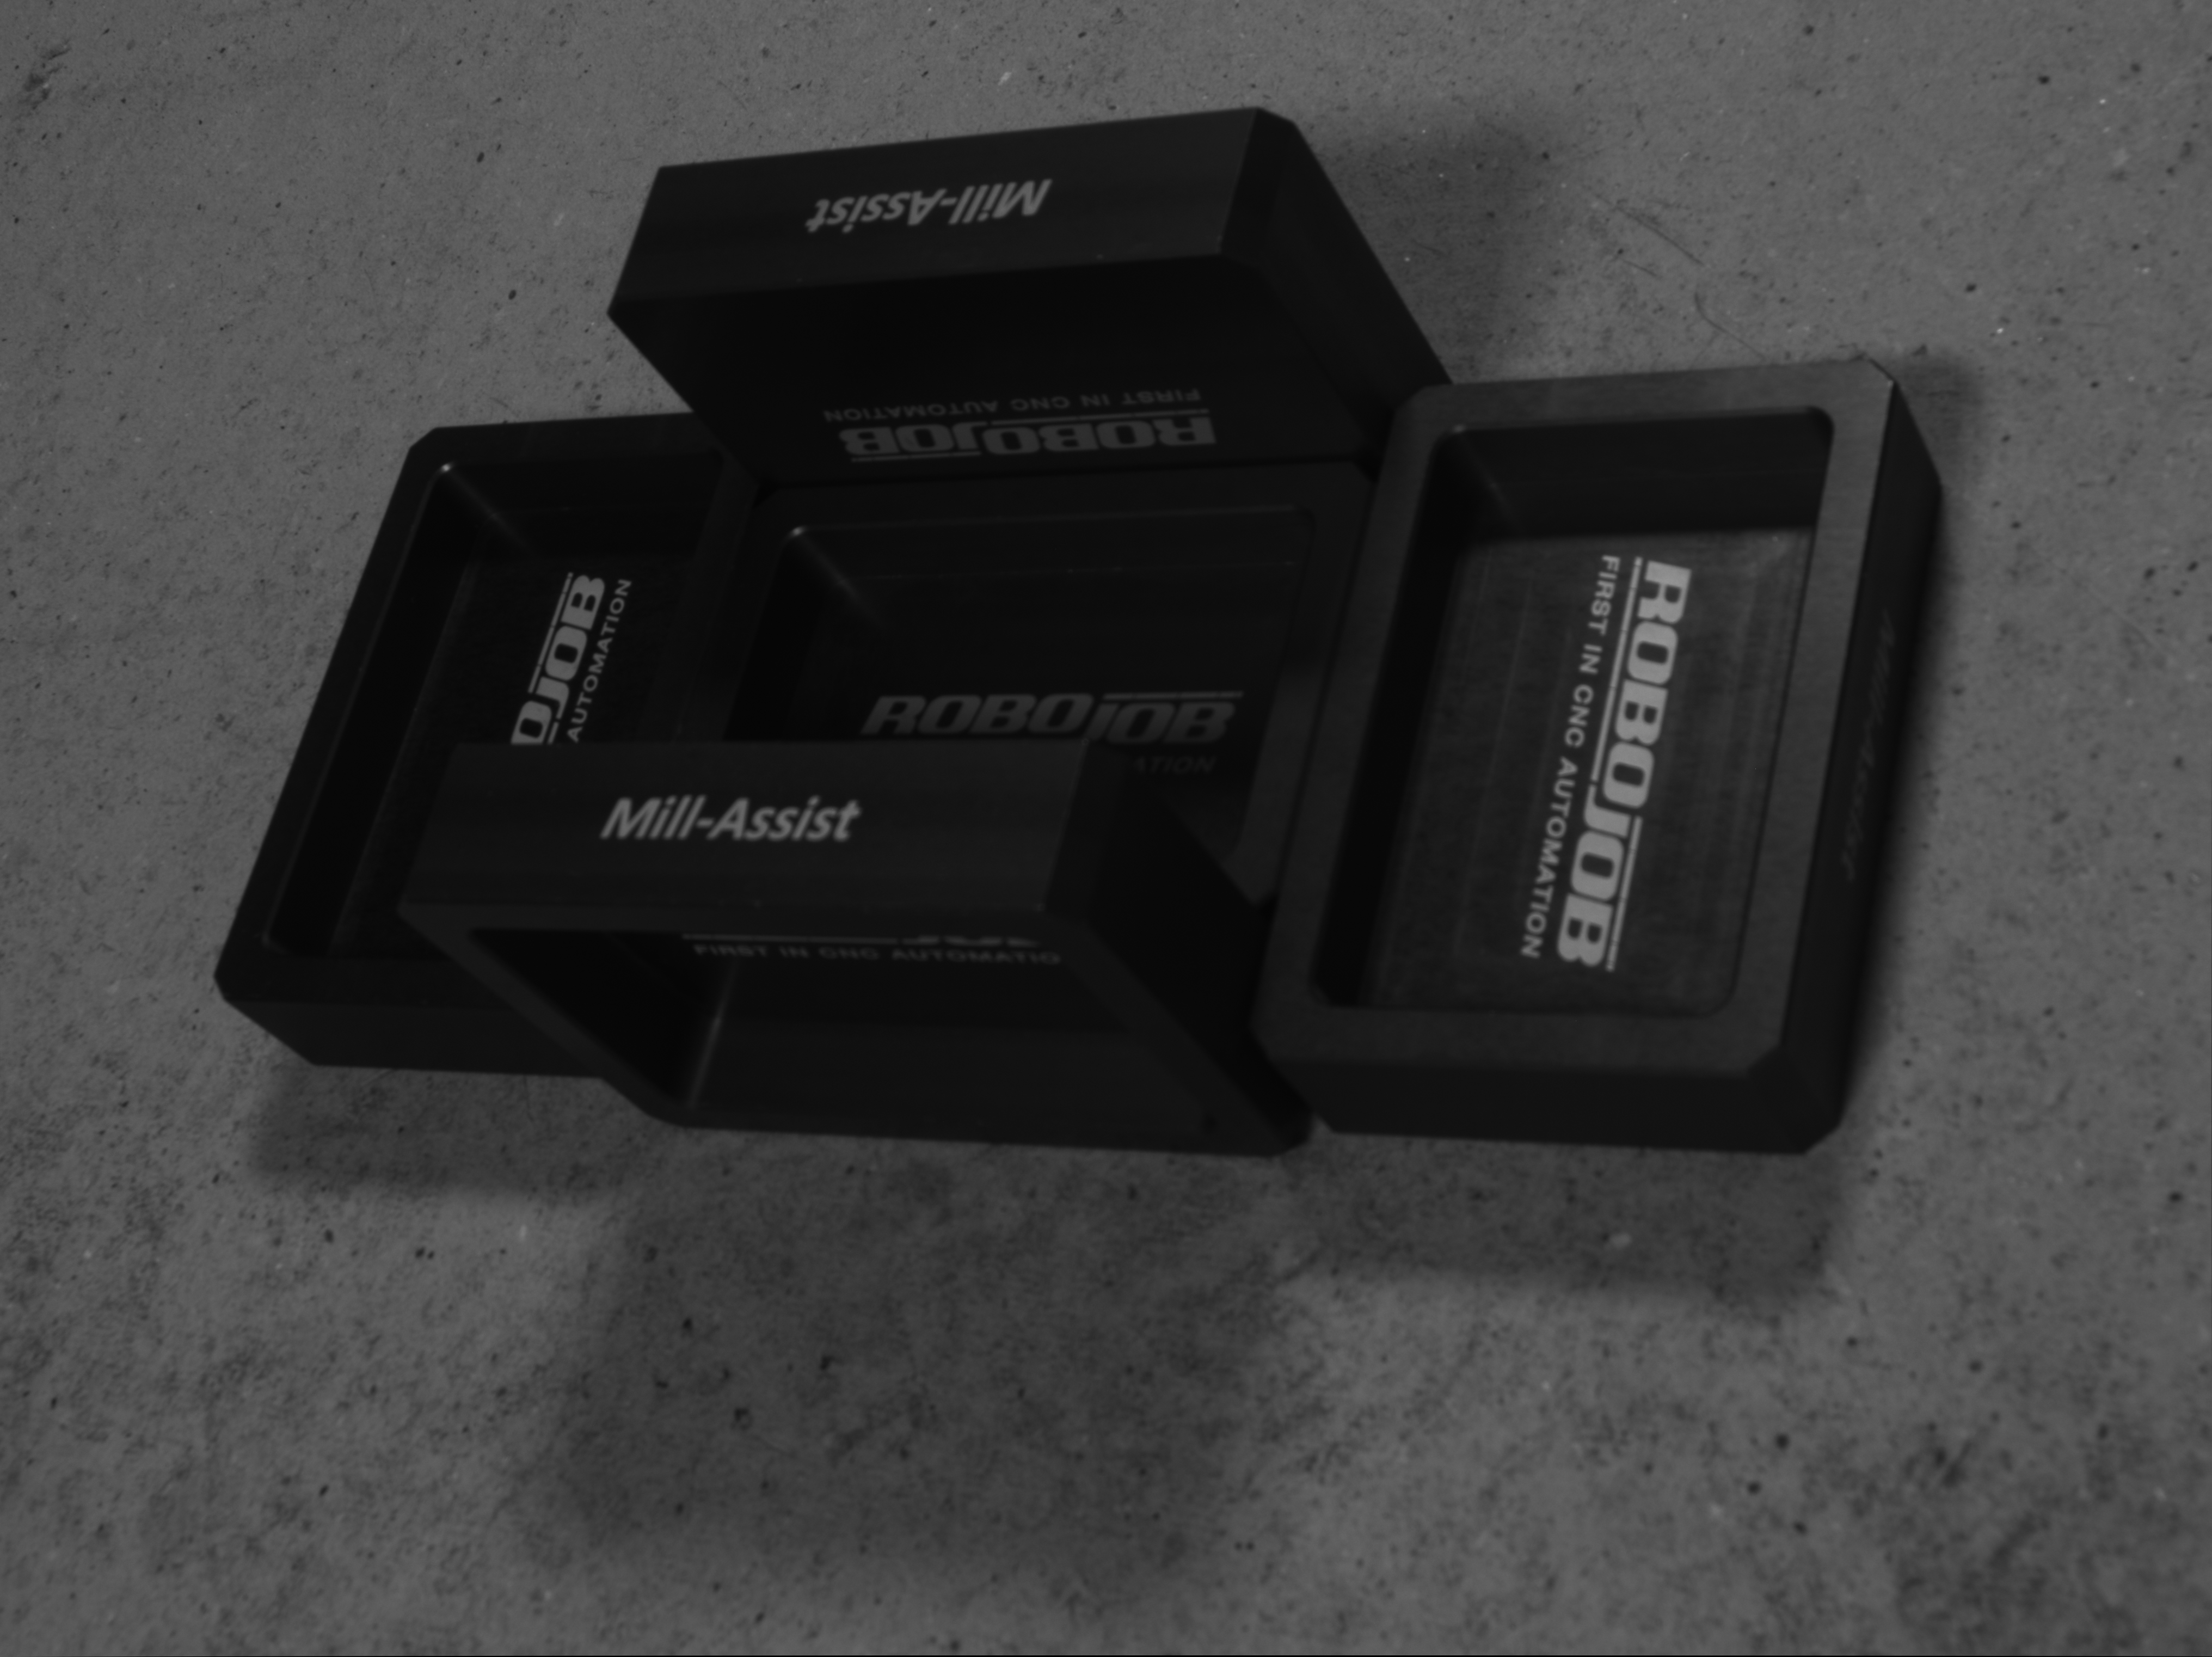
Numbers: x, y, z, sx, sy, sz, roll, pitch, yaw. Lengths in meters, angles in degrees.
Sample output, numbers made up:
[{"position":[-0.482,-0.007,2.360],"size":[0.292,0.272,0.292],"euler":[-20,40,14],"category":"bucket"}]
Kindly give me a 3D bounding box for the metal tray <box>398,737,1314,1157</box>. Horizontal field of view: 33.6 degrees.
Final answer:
[{"position":[-0.040,0.020,0.609],"size":[0.130,0.090,0.030],"euler":[0,62,28],"category":"metal tray"}]

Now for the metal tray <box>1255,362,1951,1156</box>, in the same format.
[{"position":[0.083,-0.013,0.604],"size":[0.090,0.030,0.130],"euler":[0,62,29],"category":"metal tray"}]

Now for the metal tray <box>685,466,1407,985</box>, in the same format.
[{"position":[-0.013,-0.018,0.659],"size":[0.130,0.030,0.090],"euler":[1,62,29],"category":"metal tray"}]

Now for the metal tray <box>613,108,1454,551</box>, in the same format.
[{"position":[-0.011,-0.085,0.661],"size":[0.130,0.090,0.030],"euler":[0,62,28],"category":"metal tray"}]

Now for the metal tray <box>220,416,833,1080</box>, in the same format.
[{"position":[-0.109,-0.017,0.711],"size":[0.090,0.030,0.130],"euler":[0,62,29],"category":"metal tray"}]
